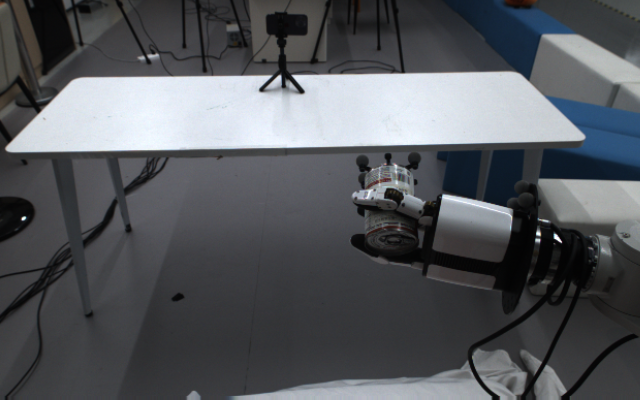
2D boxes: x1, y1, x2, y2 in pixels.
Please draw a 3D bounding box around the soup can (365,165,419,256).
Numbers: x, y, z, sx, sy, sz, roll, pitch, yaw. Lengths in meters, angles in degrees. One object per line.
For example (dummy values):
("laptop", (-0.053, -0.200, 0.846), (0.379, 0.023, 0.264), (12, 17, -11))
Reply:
("soup can", (0.092, 0.012, 0.622), (0.067, 0.067, 0.101), (3, 57, 1))
